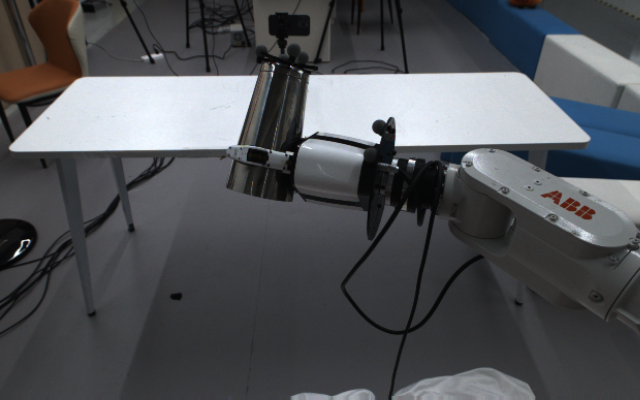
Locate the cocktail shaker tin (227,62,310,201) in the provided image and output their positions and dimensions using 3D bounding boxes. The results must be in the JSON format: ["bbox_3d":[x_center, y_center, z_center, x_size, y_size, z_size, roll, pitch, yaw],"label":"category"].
[{"bbox_3d":[-0.065,-0.091,0.650,0.093,0.170,0.093,12,4,-1],"label":"cocktail shaker tin"}]
